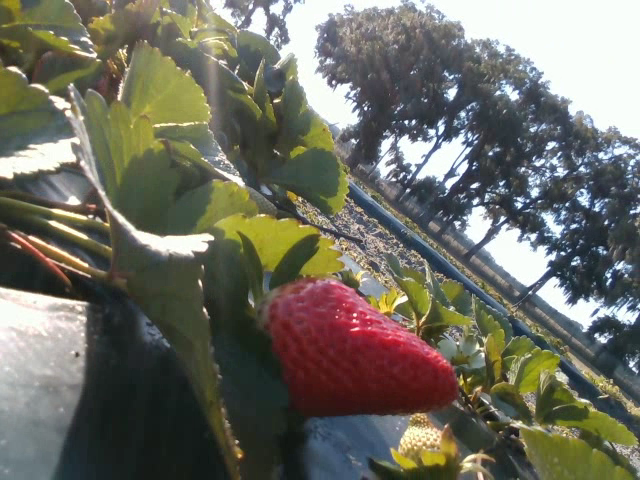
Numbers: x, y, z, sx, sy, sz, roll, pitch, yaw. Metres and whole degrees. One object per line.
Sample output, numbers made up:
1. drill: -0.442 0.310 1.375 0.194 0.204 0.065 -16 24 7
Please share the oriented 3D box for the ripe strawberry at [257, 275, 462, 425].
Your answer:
1. ripe strawberry: 0.012 0.035 0.179 0.072 0.055 0.057 20 49 15
